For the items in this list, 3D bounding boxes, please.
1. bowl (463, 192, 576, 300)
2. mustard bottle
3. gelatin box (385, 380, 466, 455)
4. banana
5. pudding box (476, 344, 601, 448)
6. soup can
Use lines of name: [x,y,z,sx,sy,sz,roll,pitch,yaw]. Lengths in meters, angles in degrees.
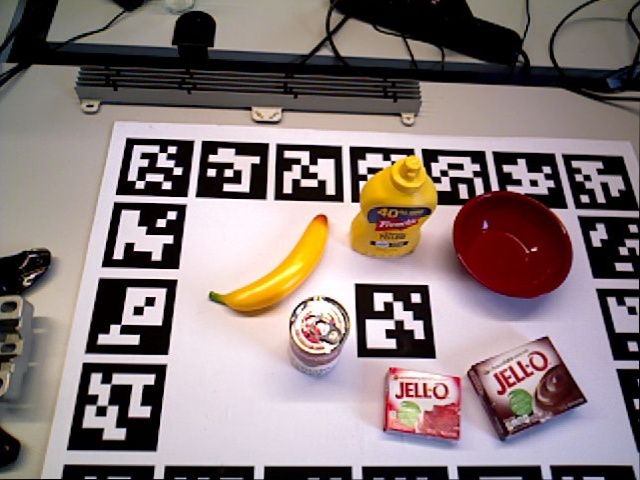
bowl: [0.266,0.017,0.734,0.161,0.056,0.159,1,62,-2]
mustard bottle: [0.104,-0.045,0.660,0.095,0.195,0.057,3,59,-4]
gelatin box: [0.124,0.207,0.636,0.089,0.030,0.072,8,65,1]
banana: [-0.049,0.029,0.711,0.074,0.039,0.194,36,65,25]
pudding box: [0.260,0.185,0.652,0.112,0.039,0.089,-20,71,-14]
soup can: [-0.004,0.109,0.626,0.067,0.104,0.067,3,60,-6]
